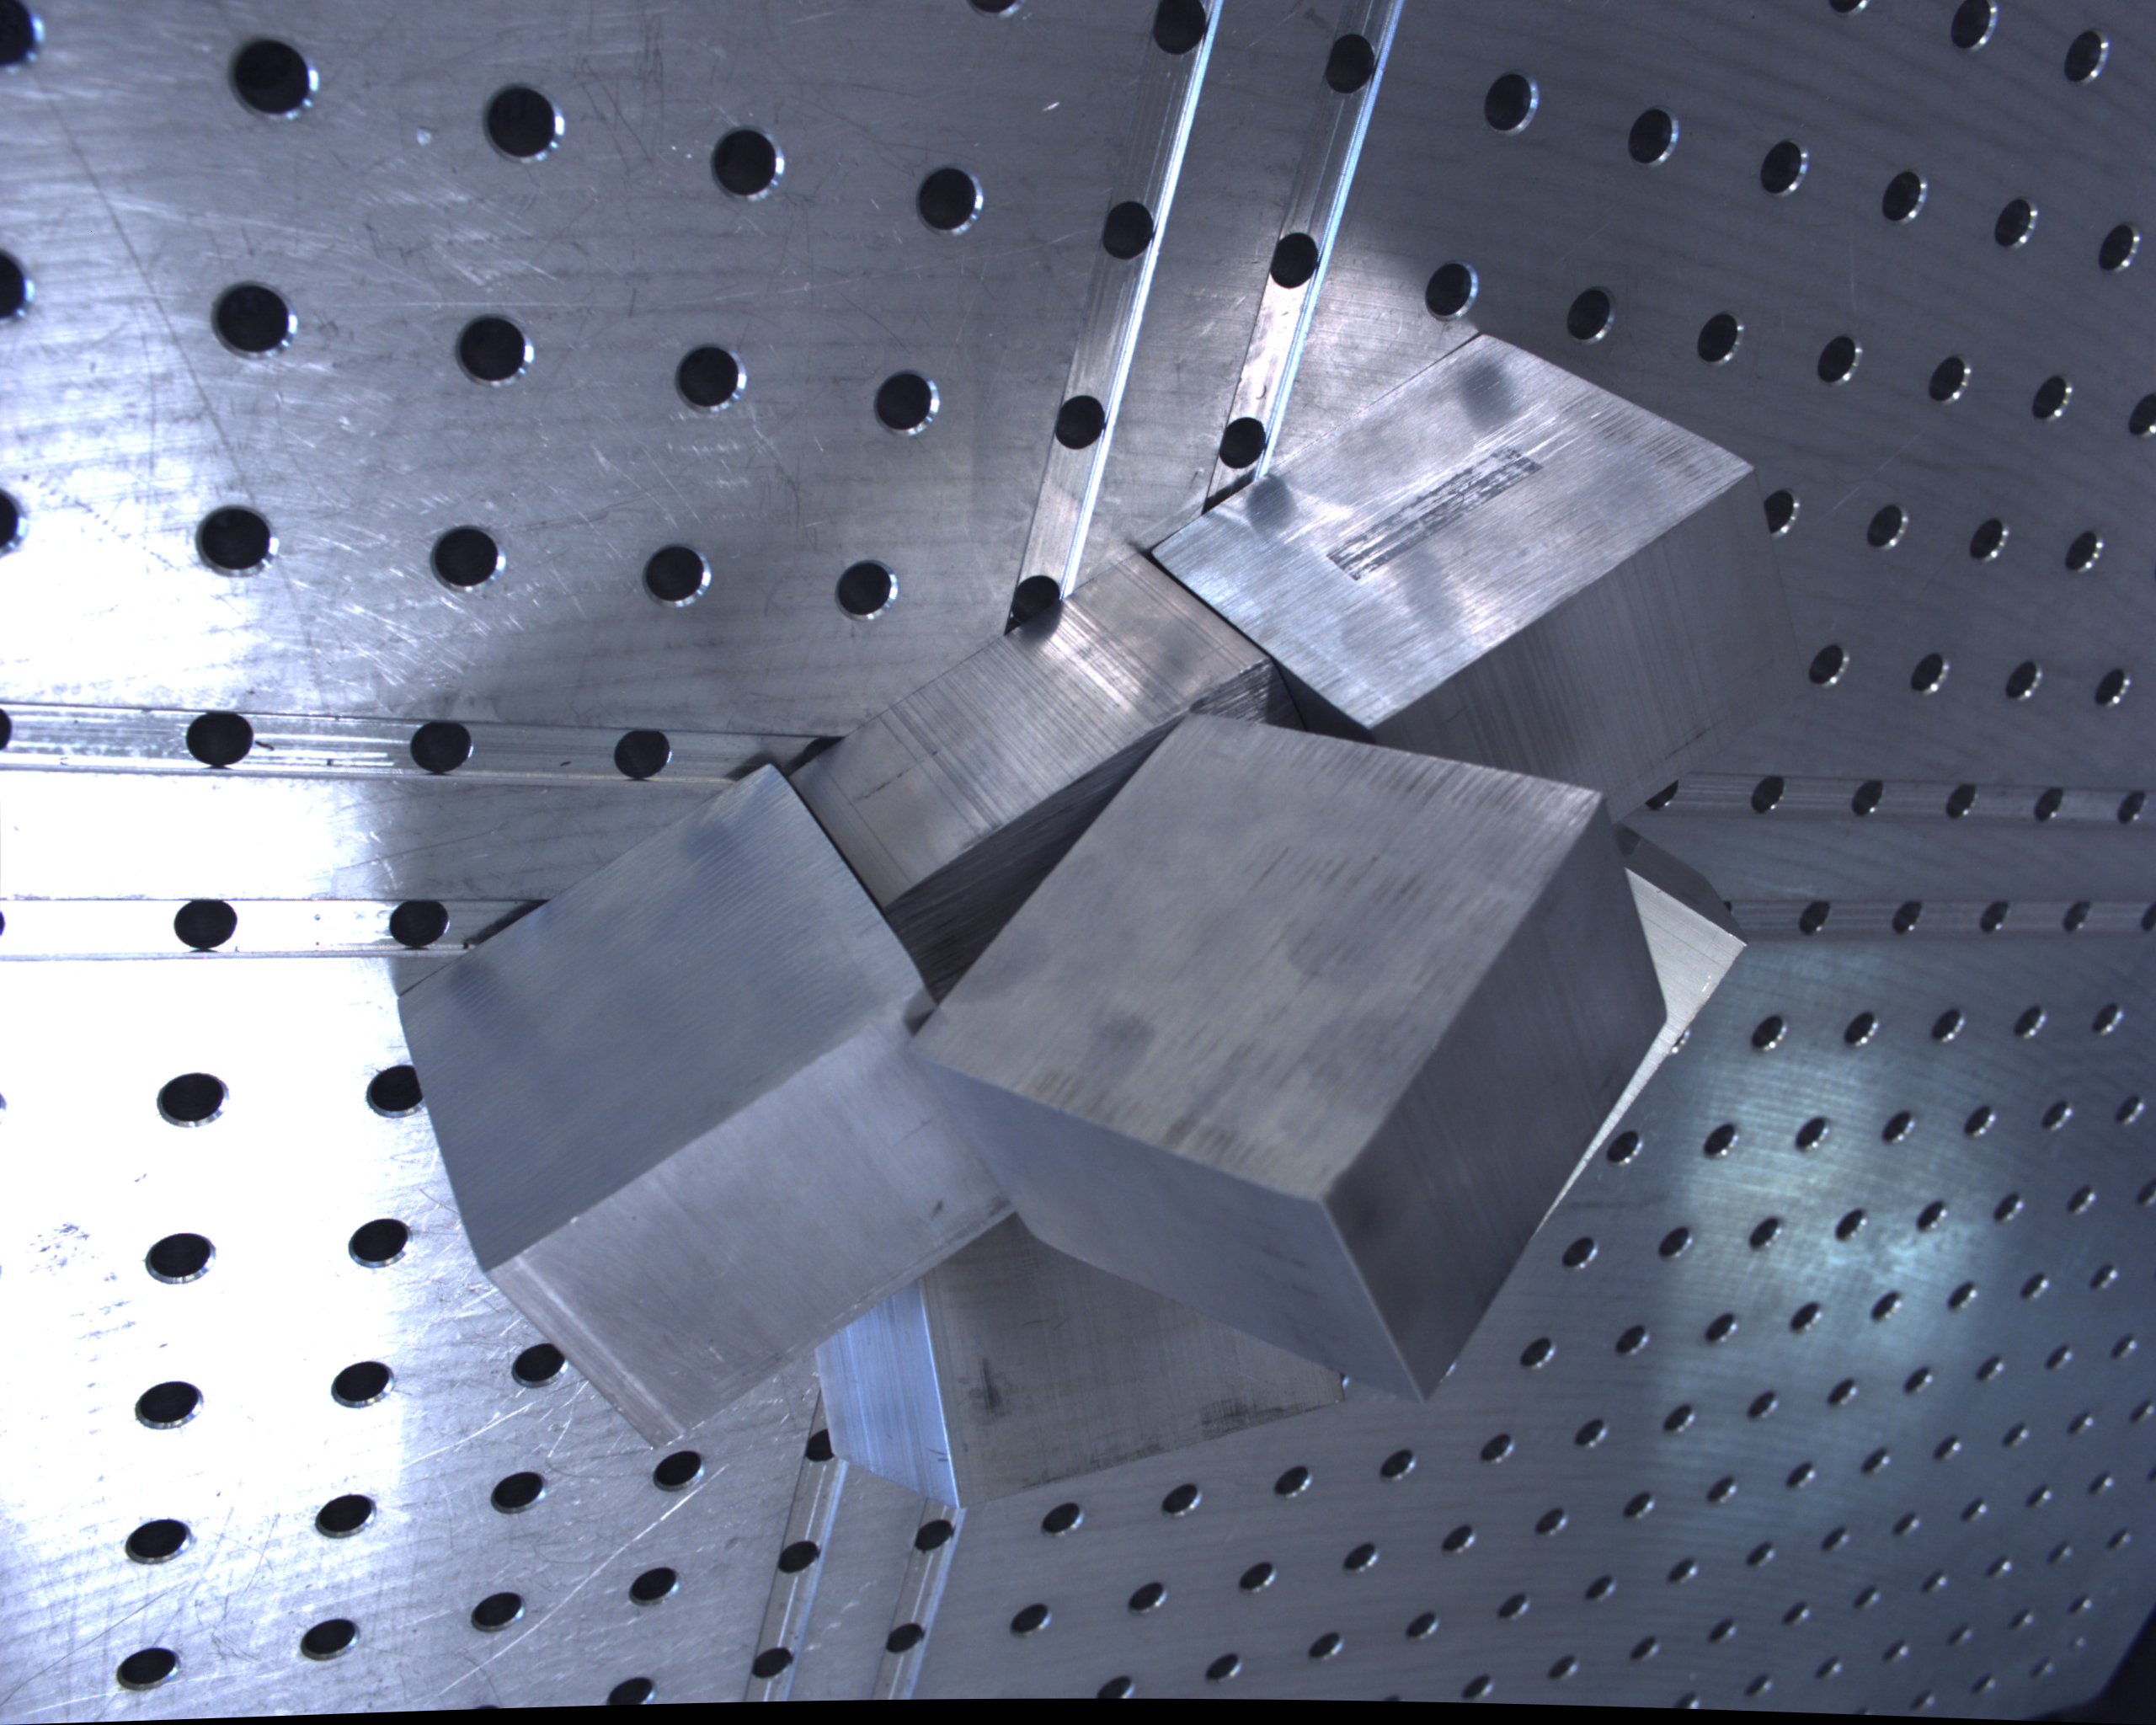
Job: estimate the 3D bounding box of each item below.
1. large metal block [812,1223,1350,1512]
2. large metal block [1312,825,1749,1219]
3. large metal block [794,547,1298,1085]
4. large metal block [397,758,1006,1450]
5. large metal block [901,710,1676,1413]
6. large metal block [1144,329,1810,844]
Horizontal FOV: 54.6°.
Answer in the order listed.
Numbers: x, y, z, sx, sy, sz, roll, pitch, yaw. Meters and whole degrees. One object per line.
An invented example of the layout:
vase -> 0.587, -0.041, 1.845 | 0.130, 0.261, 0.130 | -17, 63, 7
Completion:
large metal block -> -0.005, 0.088, 0.418 | 0.081, 0.080, 0.050 | -9, 86, -24
large metal block -> 0.088, 0.027, 0.431 | 0.050, 0.080, 0.080 | 33, 103, 4
large metal block -> 0.004, 0.001, 0.399 | 0.080, 0.050, 0.080 | -34, 129, -6
large metal block -> -0.062, 0.039, 0.363 | 0.080, 0.080, 0.050 | -33, 129, -7
large metal block -> 0.035, 0.027, 0.329 | 0.080, 0.080, 0.050 | -50, 134, -26
large metal block -> 0.072, -0.045, 0.386 | 0.080, 0.080, 0.050 | -34, 129, -6
